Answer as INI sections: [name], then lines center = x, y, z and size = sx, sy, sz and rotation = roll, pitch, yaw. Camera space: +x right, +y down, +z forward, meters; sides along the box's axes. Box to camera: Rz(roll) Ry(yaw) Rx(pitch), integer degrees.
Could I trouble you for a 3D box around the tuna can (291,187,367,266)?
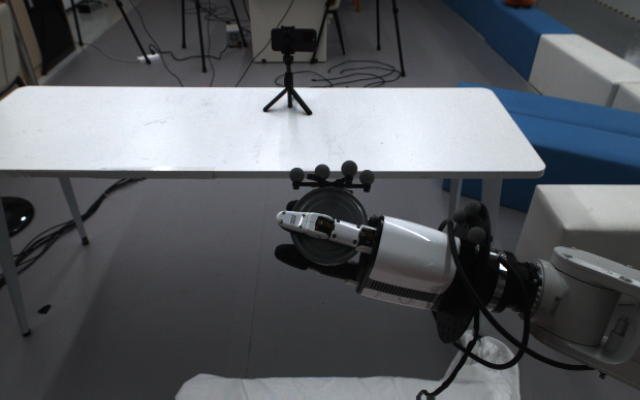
[tuna can]
center = 0.012, 0.029, 0.539
size = 0.085, 0.034, 0.085
rotation = -1, 76, 4
